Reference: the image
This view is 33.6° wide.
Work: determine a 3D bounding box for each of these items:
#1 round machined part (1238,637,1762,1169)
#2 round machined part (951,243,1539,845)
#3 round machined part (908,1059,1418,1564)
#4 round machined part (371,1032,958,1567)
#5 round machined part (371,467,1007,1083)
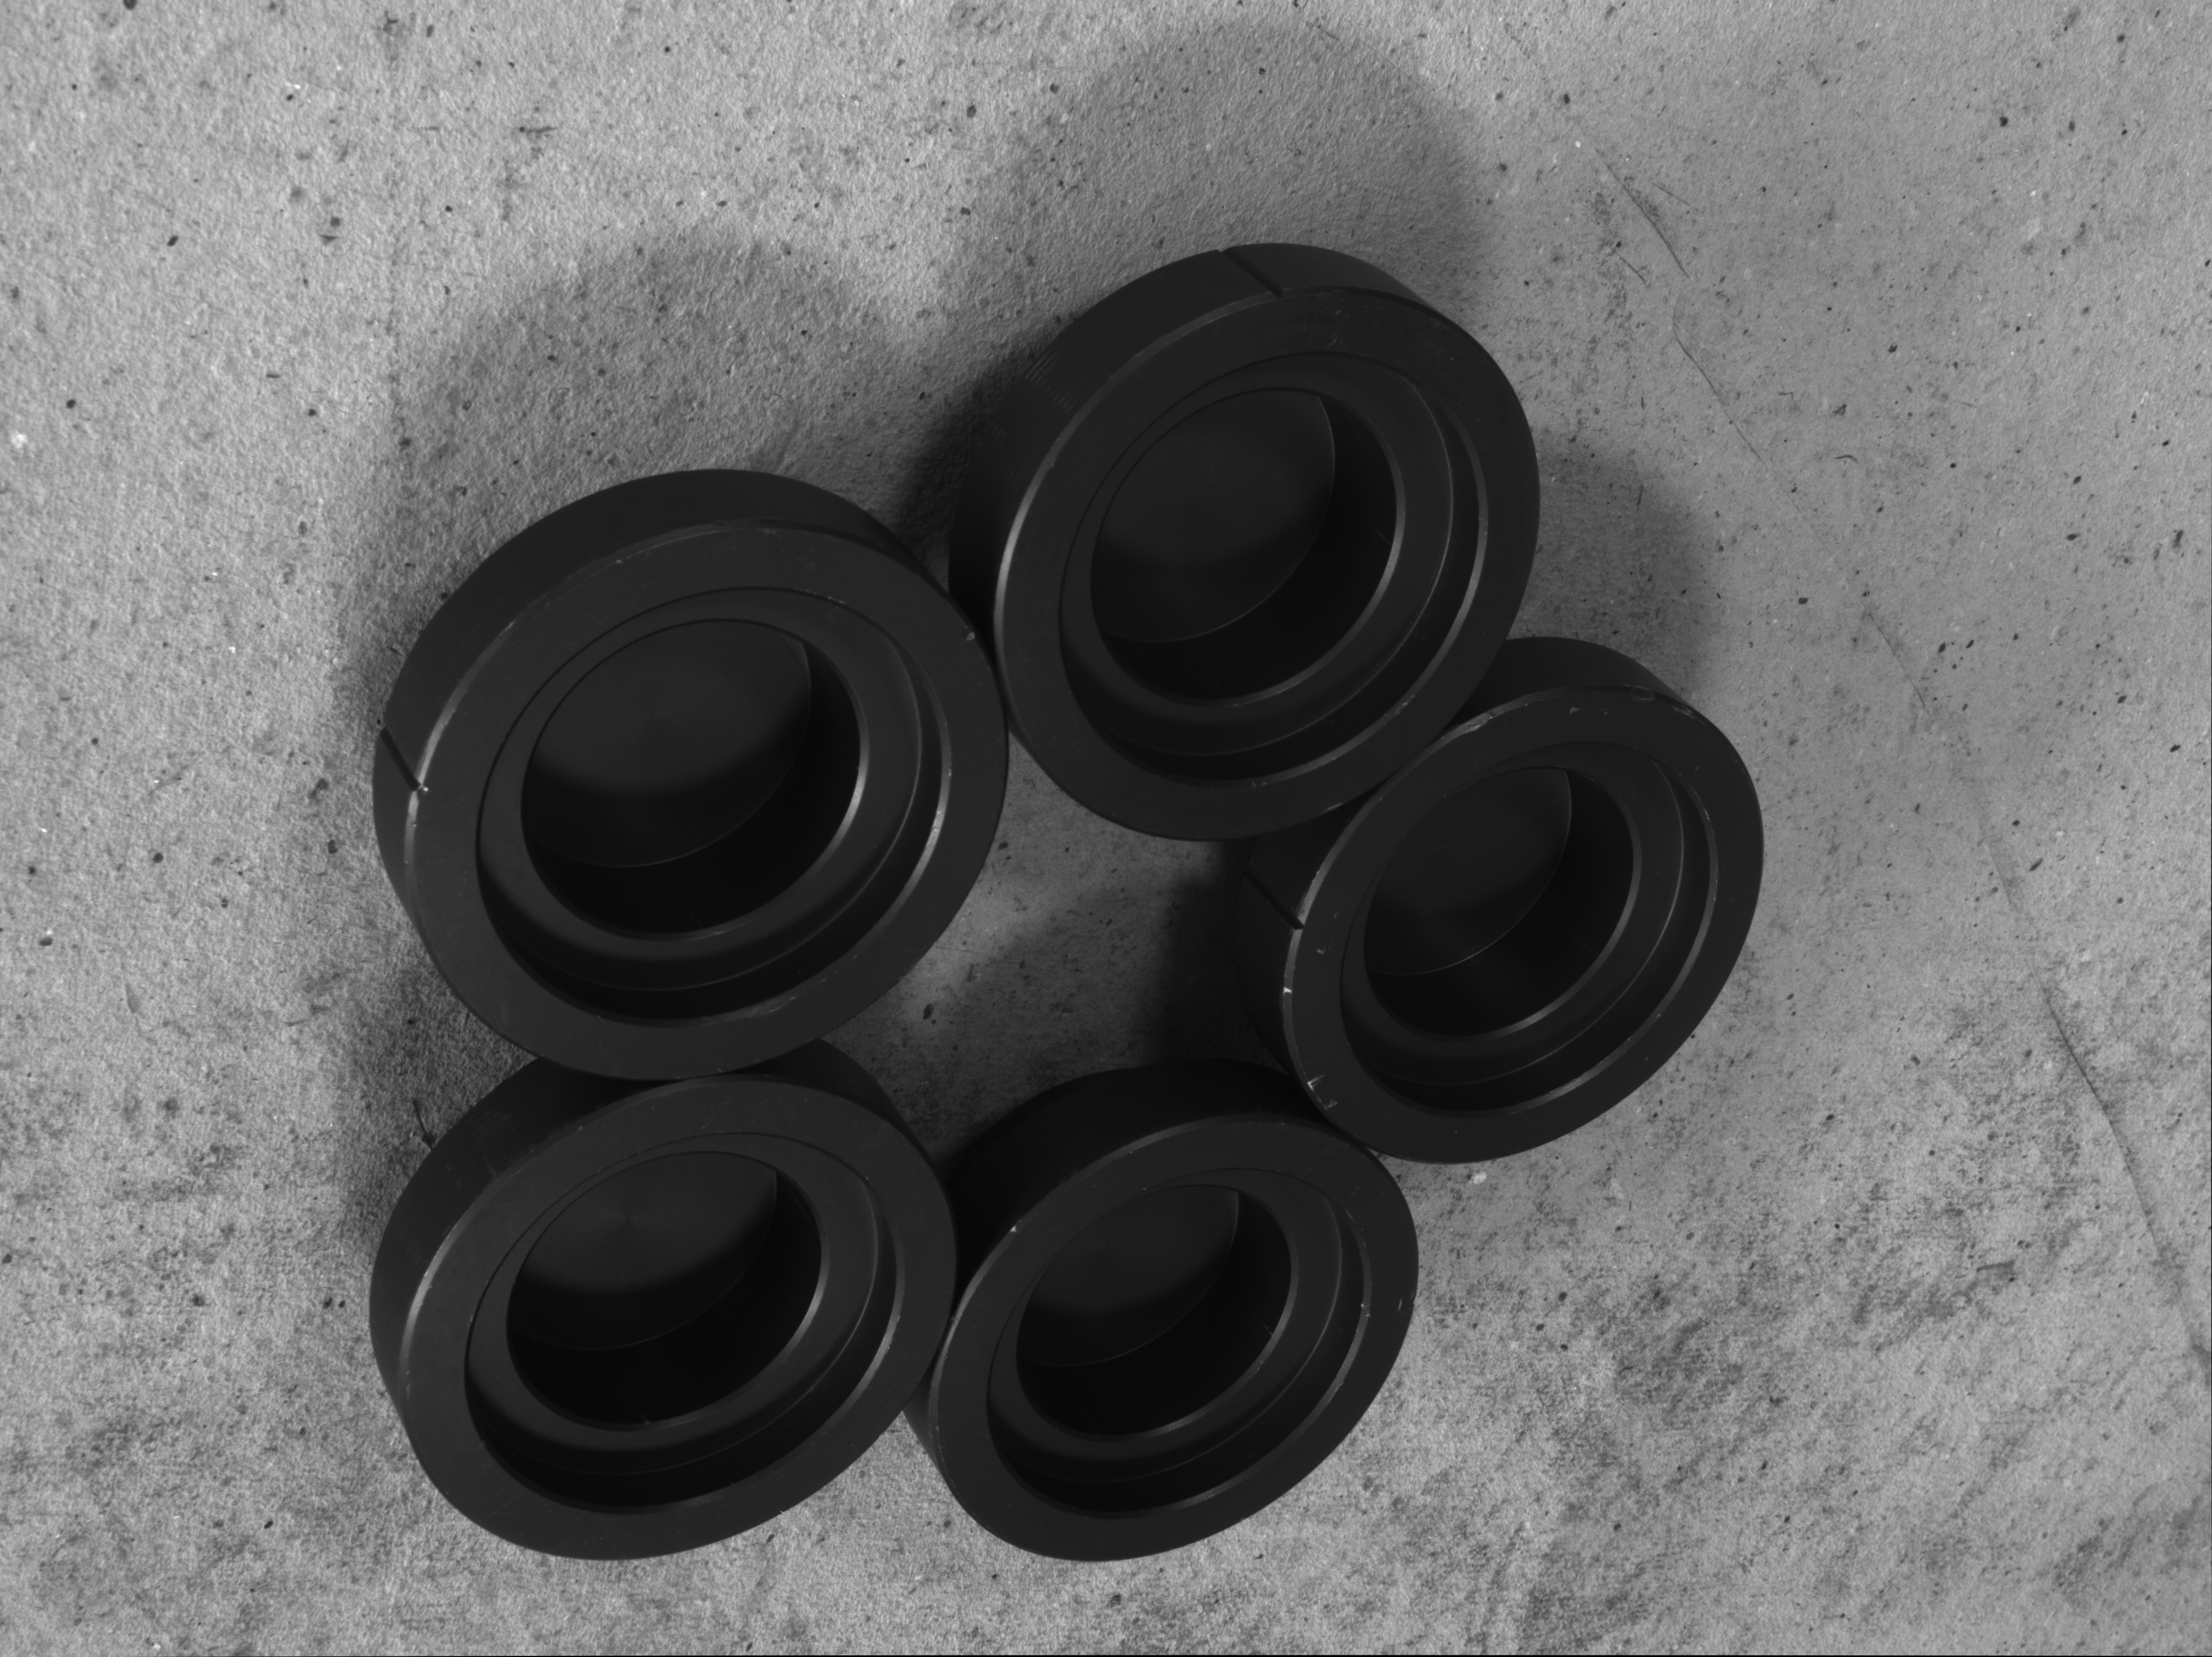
[{"bbox_3d":[0.067,0.010,0.667,0.098,0.042,0.098,-14,123,-22],"label":"round machined part"},{"bbox_3d":[0.019,-0.050,0.605,0.098,0.042,0.098,-14,123,-22],"label":"round machined part"},{"bbox_3d":[0.005,0.084,0.680,0.098,0.042,0.098,-14,124,-22],"label":"round machined part"},{"bbox_3d":[-0.078,0.074,0.629,0.098,0.042,0.098,-14,123,-22],"label":"round machined part"},{"bbox_3d":[-0.069,-0.012,0.582,0.098,0.042,0.098,-13,122,-22],"label":"round machined part"}]
